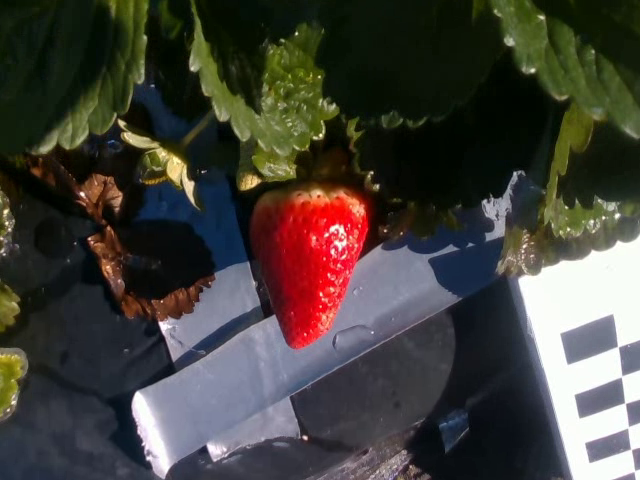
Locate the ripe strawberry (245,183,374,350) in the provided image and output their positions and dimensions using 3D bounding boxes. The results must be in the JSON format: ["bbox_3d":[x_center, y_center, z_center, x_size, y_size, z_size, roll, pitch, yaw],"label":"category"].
[{"bbox_3d":[0.000,0.014,0.257,0.062,0.065,0.058,2,-7,-14],"label":"ripe strawberry"}]
